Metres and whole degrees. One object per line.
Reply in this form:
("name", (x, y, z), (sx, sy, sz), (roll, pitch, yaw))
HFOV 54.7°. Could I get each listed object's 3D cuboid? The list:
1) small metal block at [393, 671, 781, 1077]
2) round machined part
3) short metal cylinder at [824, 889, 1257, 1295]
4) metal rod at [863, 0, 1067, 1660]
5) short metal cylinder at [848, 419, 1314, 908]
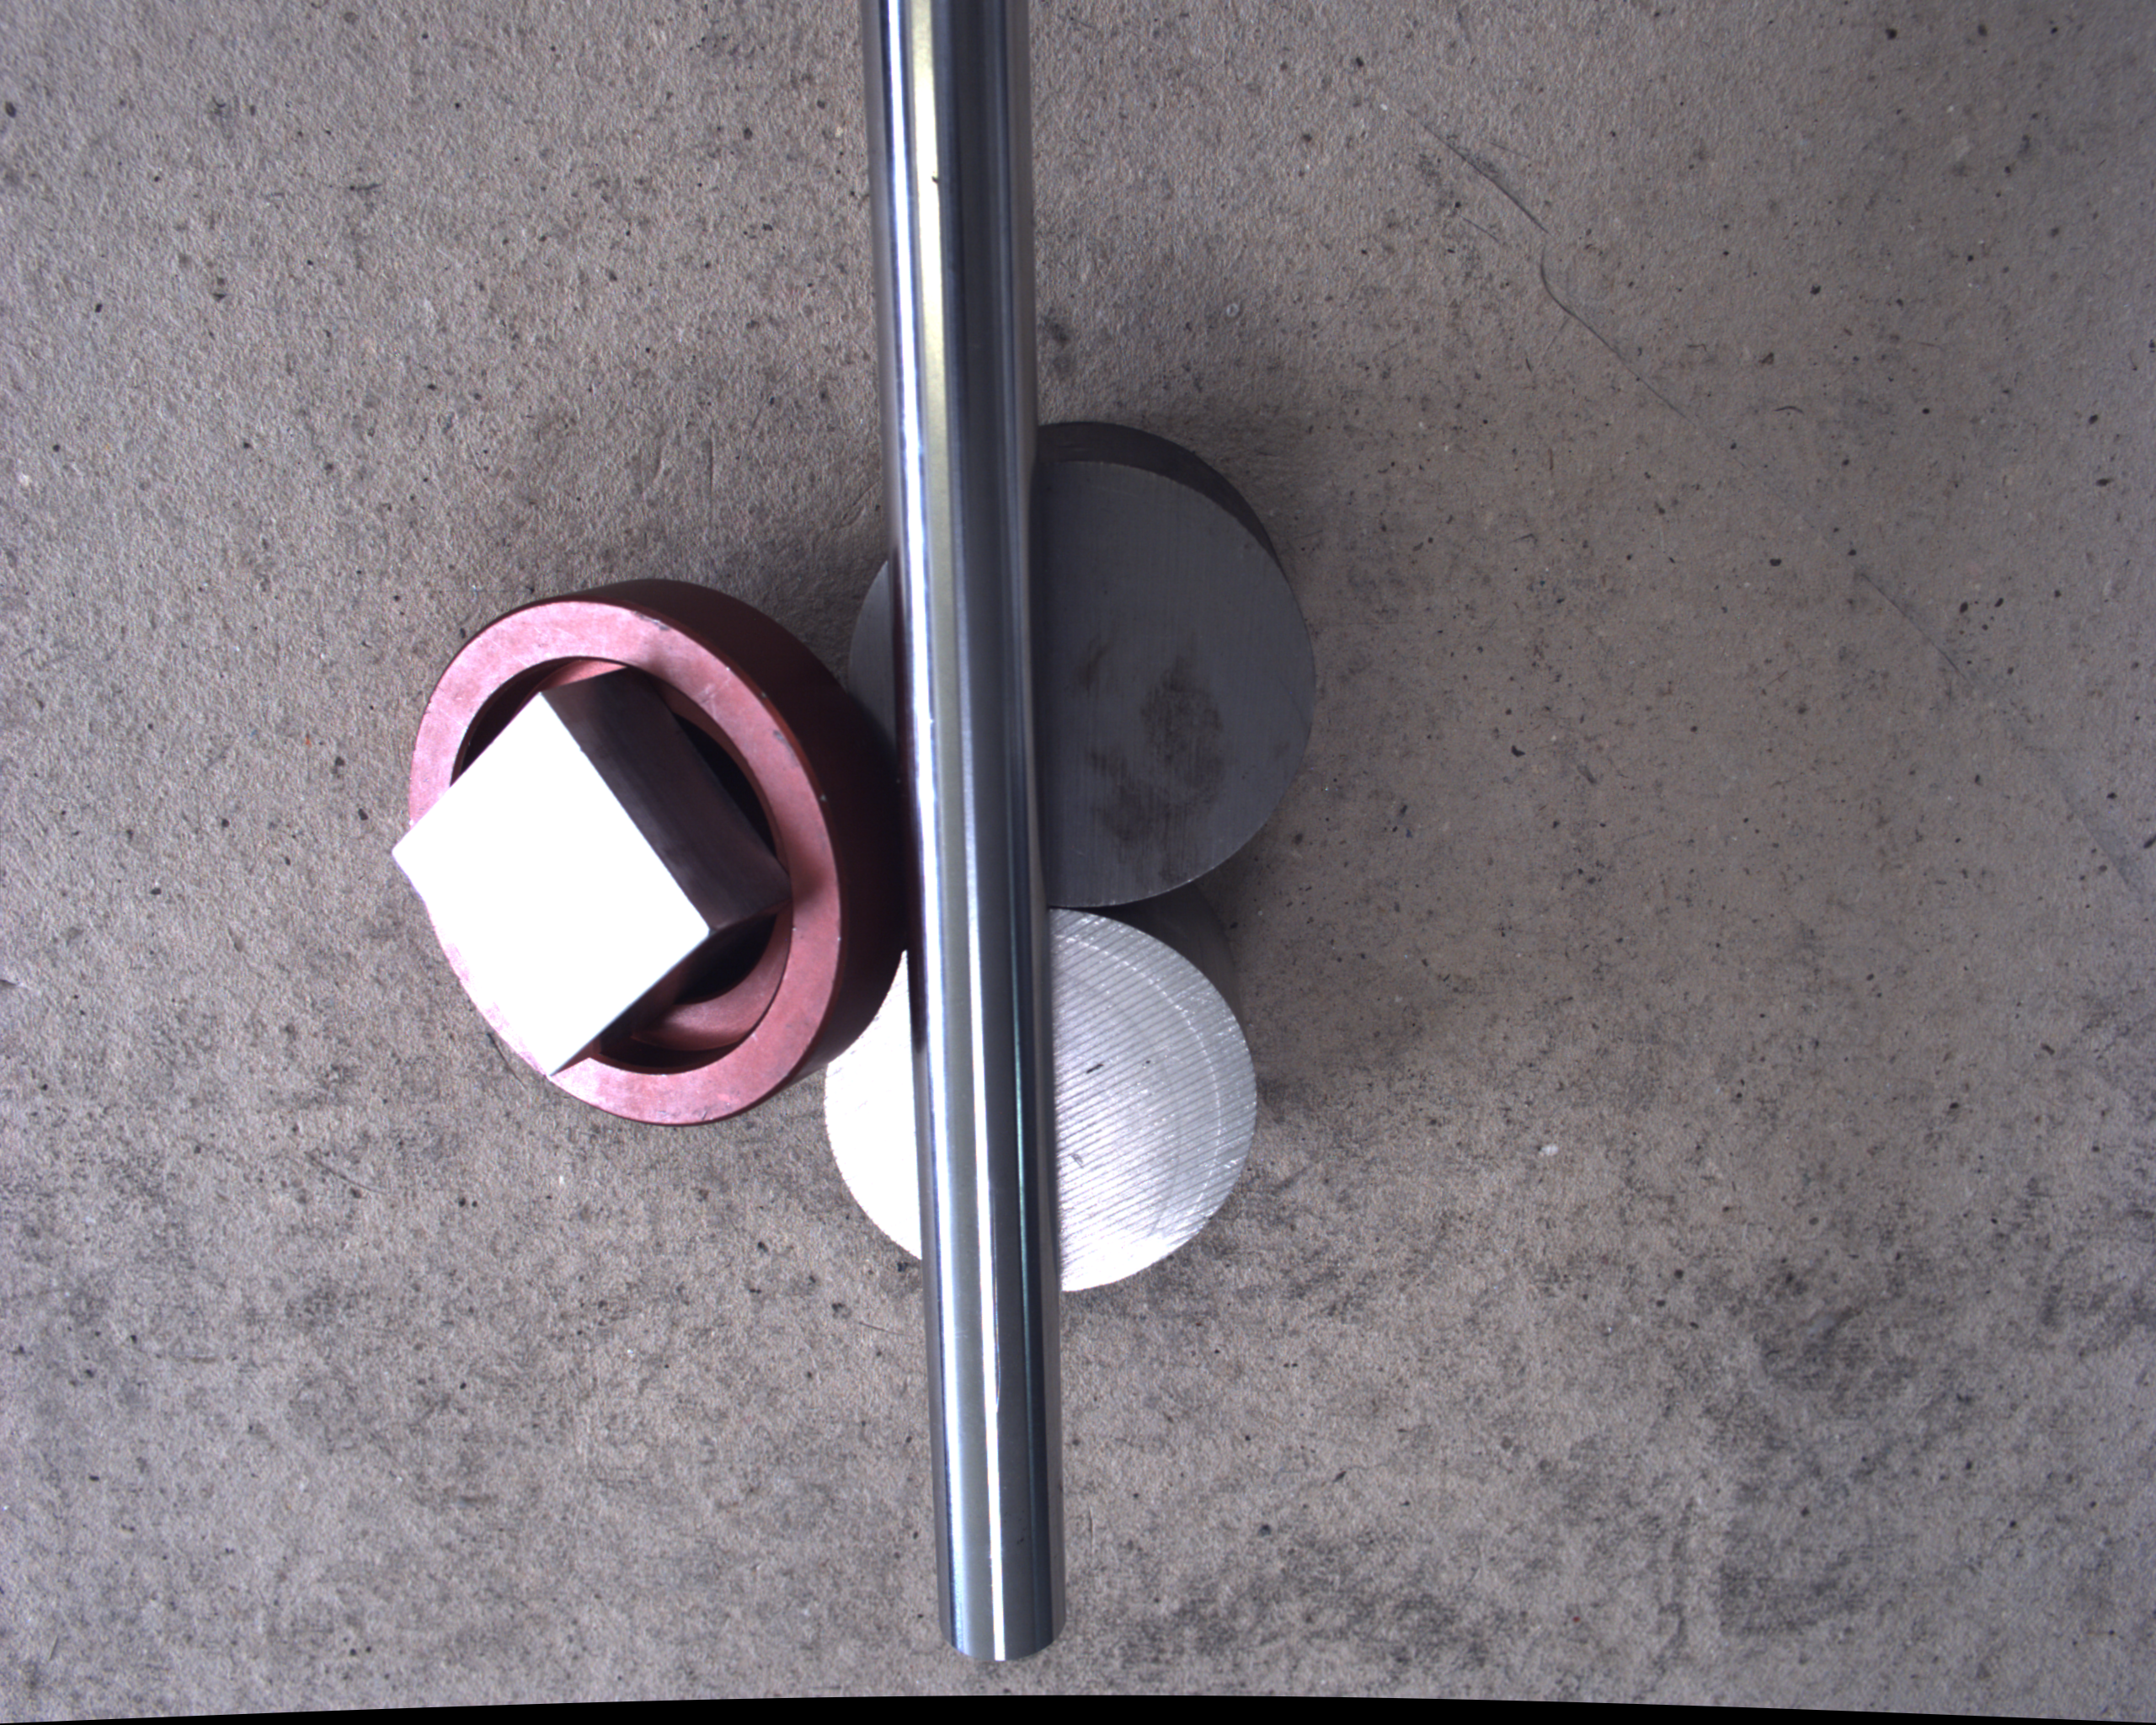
("small metal block", (-0.085, 0.001, 0.367), (0.050, 0.025, 0.050), (-38, 85, 32))
("round machined part", (-0.072, -0.004, 0.386), (0.098, 0.042, 0.097), (9, 110, 27))
("short metal cylinder", (-0.007, 0.038, 0.411), (0.081, 0.050, 0.079), (0, 109, 0))
("metal rod", (-0.017, 0.009, 0.361), (0.025, 0.025, 0.298), (-1, 110, 0))
("short metal cylinder", (0.001, -0.038, 0.384), (0.081, 0.050, 0.079), (0, 110, 0))
